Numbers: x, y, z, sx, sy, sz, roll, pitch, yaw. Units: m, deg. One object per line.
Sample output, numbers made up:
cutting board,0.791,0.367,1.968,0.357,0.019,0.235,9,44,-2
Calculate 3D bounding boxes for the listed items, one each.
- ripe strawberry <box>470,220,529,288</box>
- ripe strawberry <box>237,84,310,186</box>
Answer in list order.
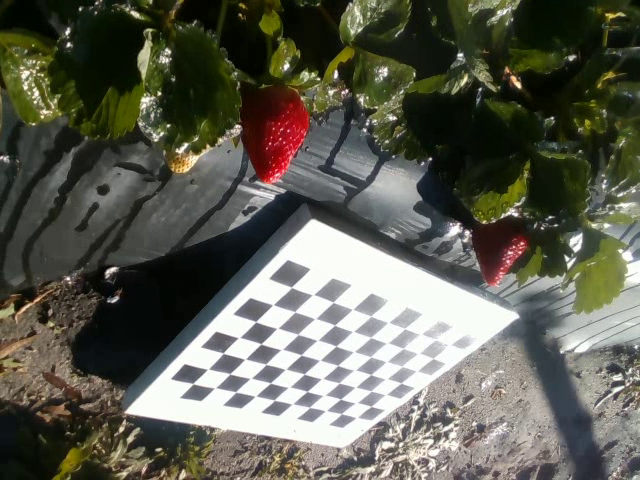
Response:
ripe strawberry,0.145,0.012,0.486,0.048,0.061,0.044,17,5,-34
ripe strawberry,-0.030,-0.058,0.356,0.042,0.061,0.046,11,-1,-29
